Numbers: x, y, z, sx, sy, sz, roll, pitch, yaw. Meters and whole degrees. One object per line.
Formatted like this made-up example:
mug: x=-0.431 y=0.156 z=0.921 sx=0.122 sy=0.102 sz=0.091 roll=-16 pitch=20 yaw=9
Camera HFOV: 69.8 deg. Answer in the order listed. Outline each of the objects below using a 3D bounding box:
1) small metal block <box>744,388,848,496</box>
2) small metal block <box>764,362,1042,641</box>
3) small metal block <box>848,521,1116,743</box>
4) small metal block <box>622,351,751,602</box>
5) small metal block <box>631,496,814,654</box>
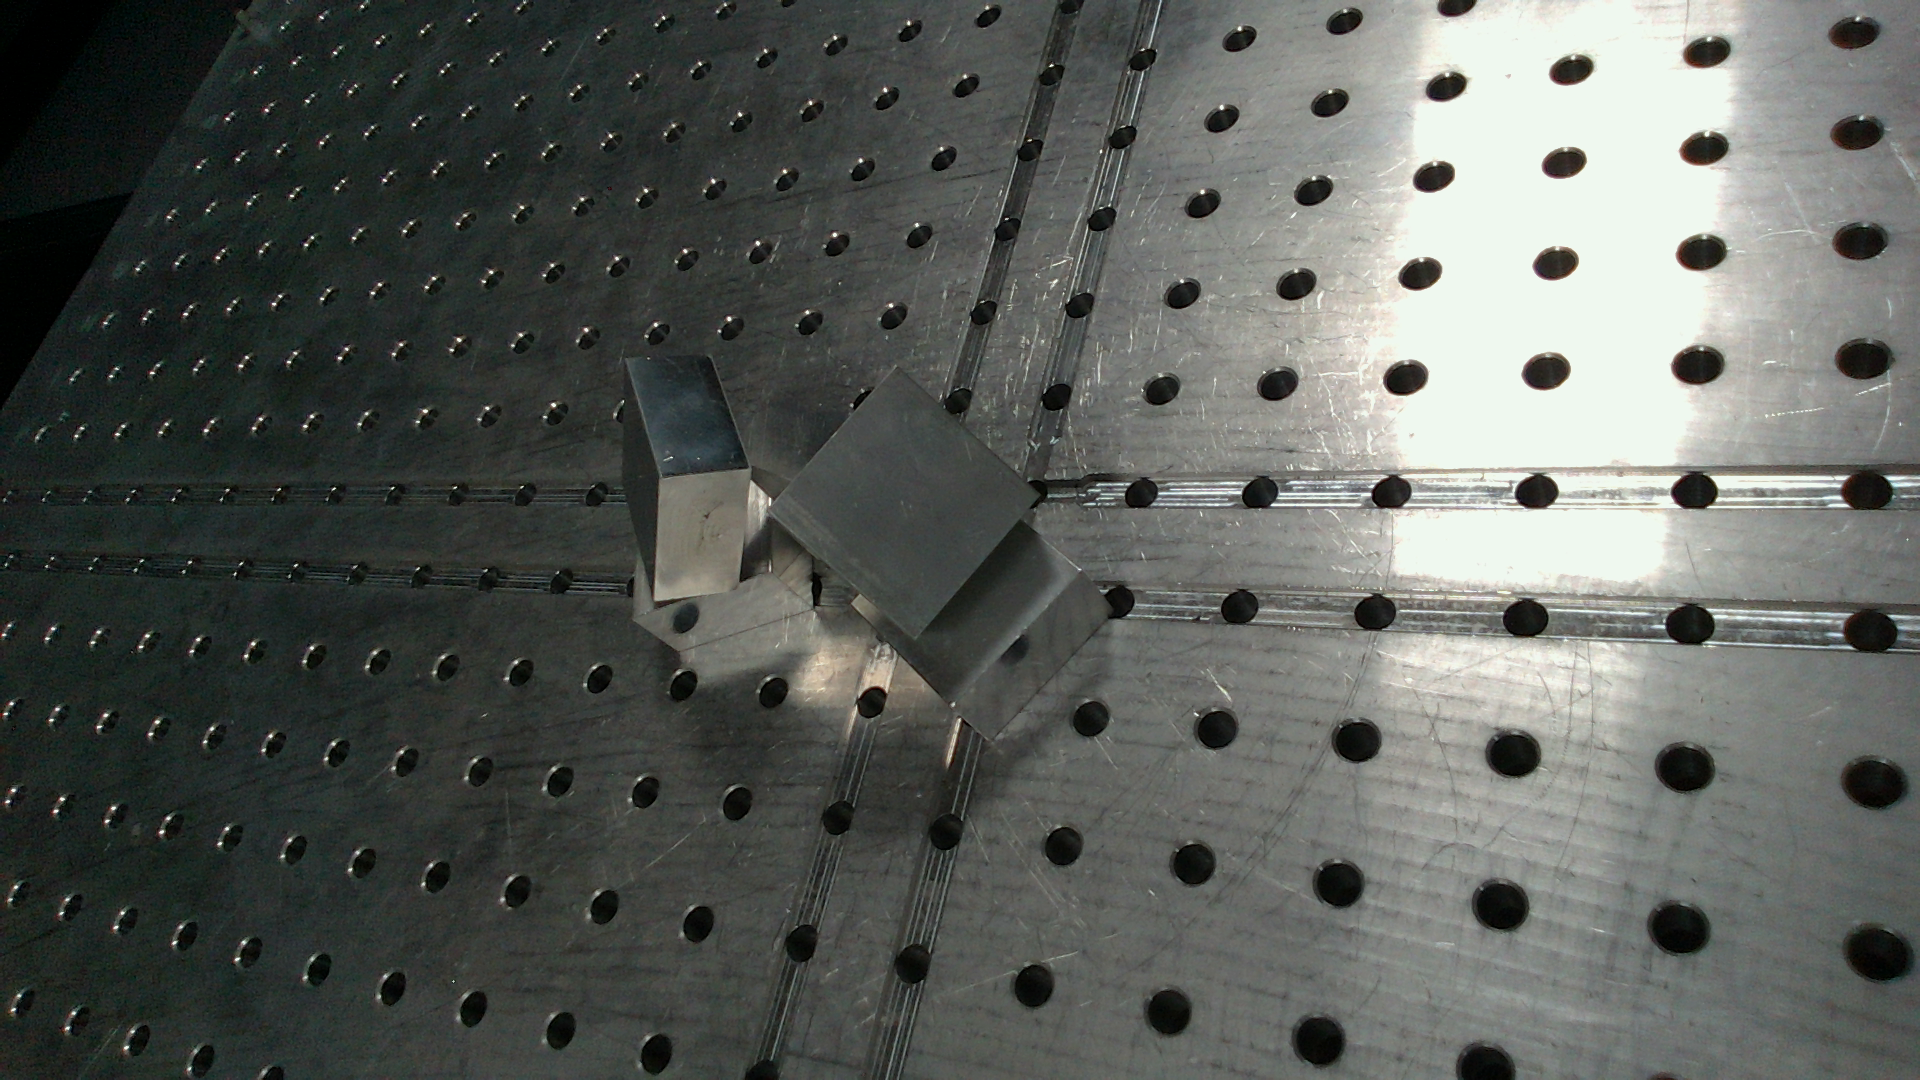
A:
small metal block: x=-0.033 y=-0.016 z=0.408 sx=0.050 sy=0.050 sz=0.025 roll=20 pitch=73 yaw=36
small metal block: x=-0.016 y=-0.009 z=0.361 sx=0.050 sy=0.025 sz=0.050 roll=42 pitch=83 yaw=-5
small metal block: x=0.006 y=0.019 z=0.382 sx=0.050 sy=0.025 sz=0.050 roll=-46 pitch=51 yaw=-4
small metal block: x=-0.081 y=-0.019 z=0.400 sx=0.025 sy=0.050 sz=0.050 roll=-7 pitch=48 yaw=-22
small metal block: x=-0.075 y=0.002 z=0.437 sx=0.050 sy=0.025 sz=0.050 roll=-18 pitch=54 yaw=18
